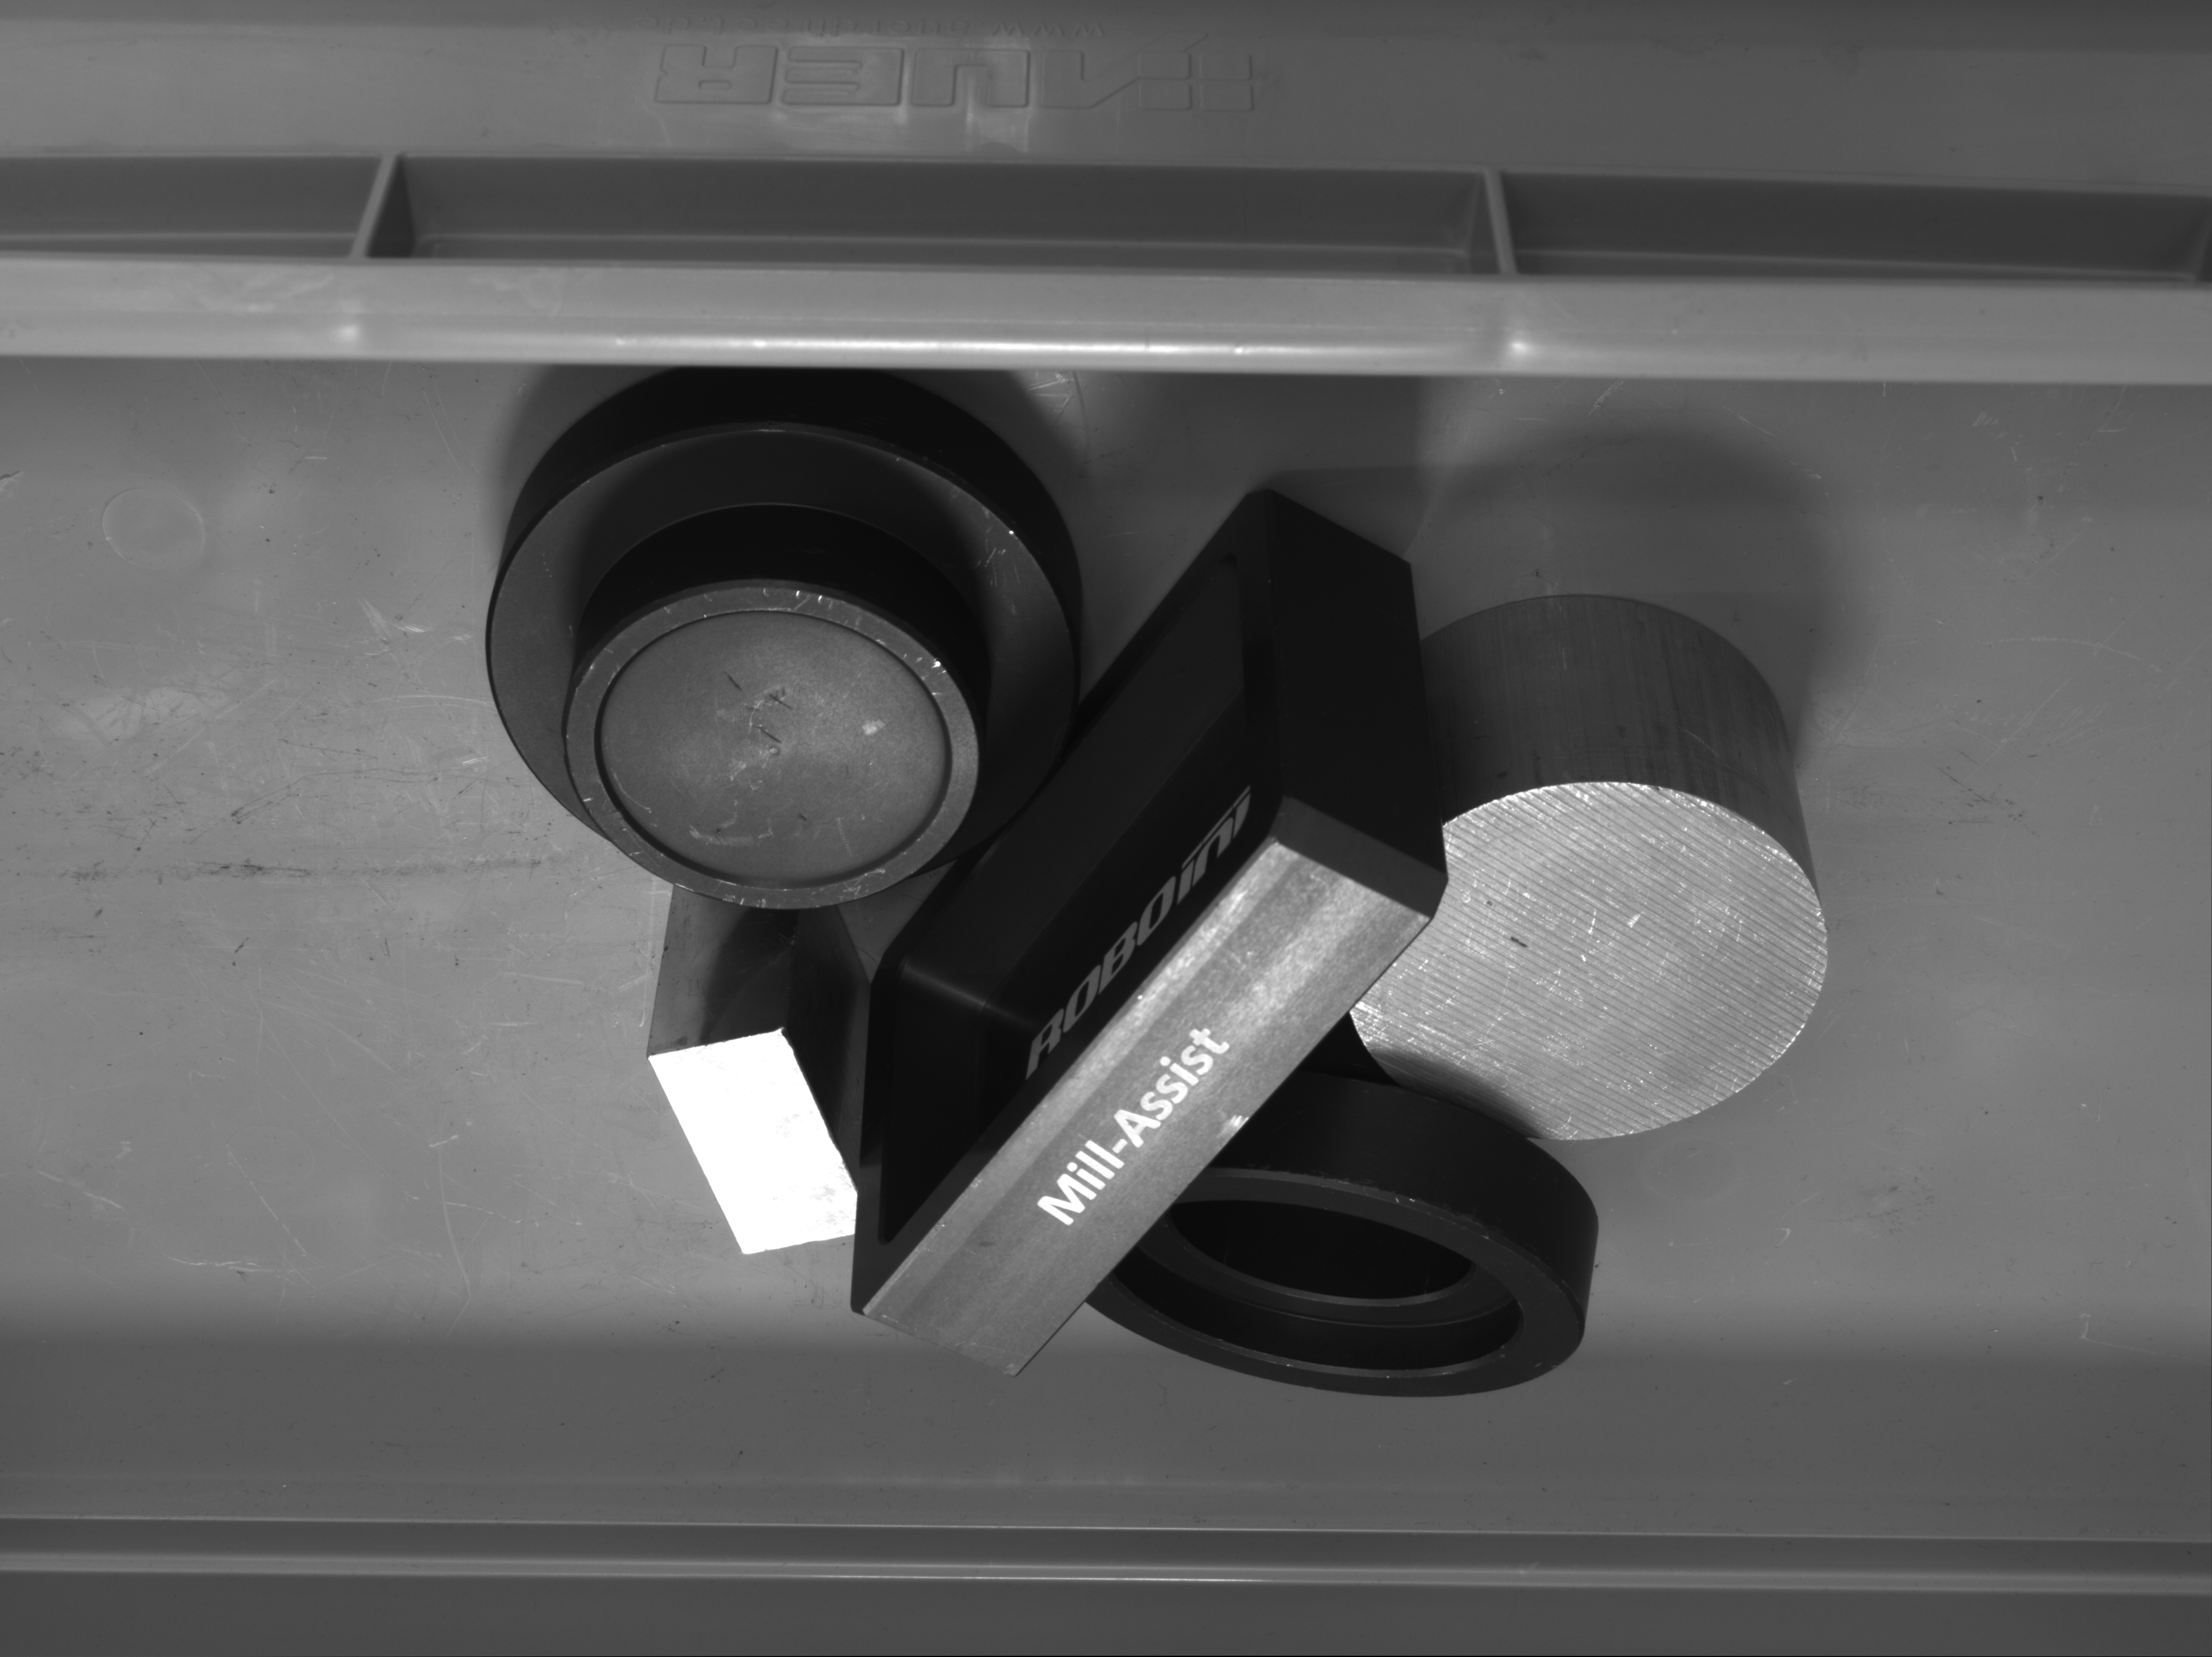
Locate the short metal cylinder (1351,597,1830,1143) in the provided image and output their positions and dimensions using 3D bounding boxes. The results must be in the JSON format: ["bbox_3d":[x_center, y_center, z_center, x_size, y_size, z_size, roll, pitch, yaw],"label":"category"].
[{"bbox_3d":[0.080,0.008,0.628,0.080,0.050,0.080,0,130,0],"label":"short metal cylinder"}]

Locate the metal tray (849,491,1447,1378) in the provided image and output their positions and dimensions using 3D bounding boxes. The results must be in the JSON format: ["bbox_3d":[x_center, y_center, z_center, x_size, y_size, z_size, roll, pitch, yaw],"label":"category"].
[{"bbox_3d":[0.004,0.018,0.611,0.030,0.090,0.130,26,125,-20],"label":"metal tray"}]

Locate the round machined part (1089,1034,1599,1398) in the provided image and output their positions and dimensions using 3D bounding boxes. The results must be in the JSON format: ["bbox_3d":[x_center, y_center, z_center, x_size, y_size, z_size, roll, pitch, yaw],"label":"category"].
[{"bbox_3d":[0.041,0.065,0.666,0.098,0.042,0.098,9,152,5],"label":"round machined part"}]

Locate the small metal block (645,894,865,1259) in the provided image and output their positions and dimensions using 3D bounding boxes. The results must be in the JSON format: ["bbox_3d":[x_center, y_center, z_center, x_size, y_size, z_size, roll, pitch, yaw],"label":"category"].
[{"bbox_3d":[-0.059,0.039,0.654,0.025,0.050,0.050,-12,129,10],"label":"small metal block"}]

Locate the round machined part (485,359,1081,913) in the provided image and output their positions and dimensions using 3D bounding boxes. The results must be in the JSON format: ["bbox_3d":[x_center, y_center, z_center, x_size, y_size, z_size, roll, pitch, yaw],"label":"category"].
[{"bbox_3d":[-0.053,-0.025,0.605,0.098,0.042,0.098,0,130,0],"label":"round machined part"}]
